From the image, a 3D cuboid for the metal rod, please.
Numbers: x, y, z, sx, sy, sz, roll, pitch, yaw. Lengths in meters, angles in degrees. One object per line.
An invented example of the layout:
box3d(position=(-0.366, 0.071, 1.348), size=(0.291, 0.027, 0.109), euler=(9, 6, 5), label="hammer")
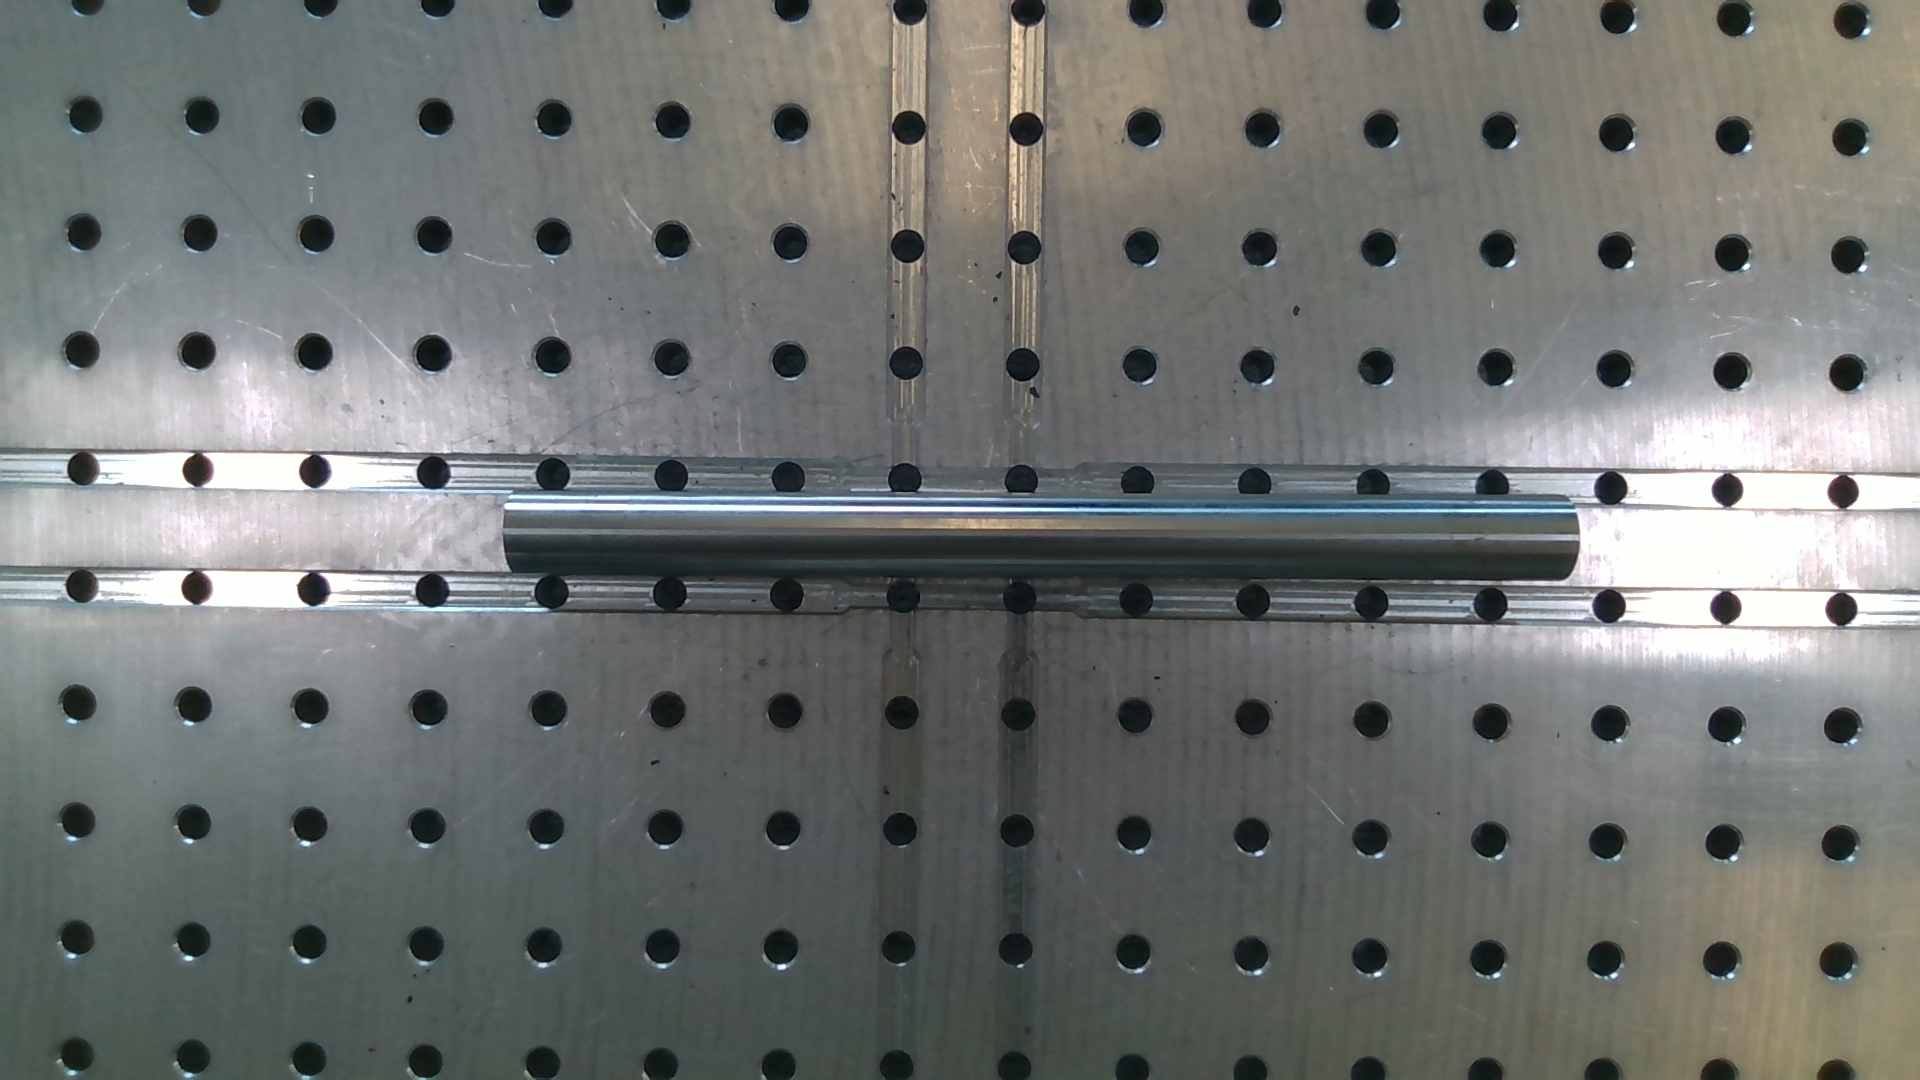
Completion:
box3d(position=(0.022, -0.003, 0.398), size=(0.300, 0.025, 0.025), euler=(0, 90, 0), label="metal rod")
